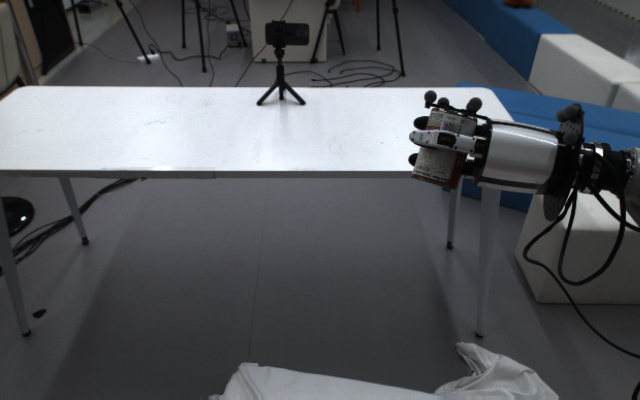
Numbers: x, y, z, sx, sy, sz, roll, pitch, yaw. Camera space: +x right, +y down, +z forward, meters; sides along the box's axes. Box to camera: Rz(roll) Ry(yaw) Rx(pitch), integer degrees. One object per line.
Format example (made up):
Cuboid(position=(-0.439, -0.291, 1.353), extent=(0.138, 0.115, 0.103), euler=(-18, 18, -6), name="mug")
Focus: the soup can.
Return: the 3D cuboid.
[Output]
Cuboid(position=(0.177, -0.073, 0.686), extent=(0.067, 0.101, 0.067), euler=(15, 7, -2), name="soup can")
